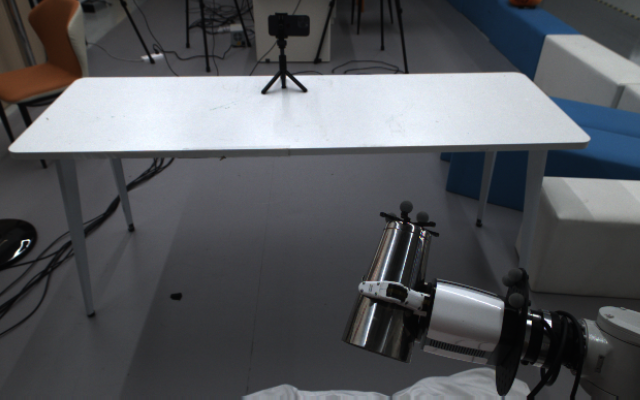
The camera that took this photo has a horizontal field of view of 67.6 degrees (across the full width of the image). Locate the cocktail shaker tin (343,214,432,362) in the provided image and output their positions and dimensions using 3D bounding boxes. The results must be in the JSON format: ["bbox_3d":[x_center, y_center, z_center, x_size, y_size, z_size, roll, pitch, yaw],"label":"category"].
[{"bbox_3d":[0.097,0.120,0.648,0.093,0.093,0.170,14,73,17],"label":"cocktail shaker tin"}]
